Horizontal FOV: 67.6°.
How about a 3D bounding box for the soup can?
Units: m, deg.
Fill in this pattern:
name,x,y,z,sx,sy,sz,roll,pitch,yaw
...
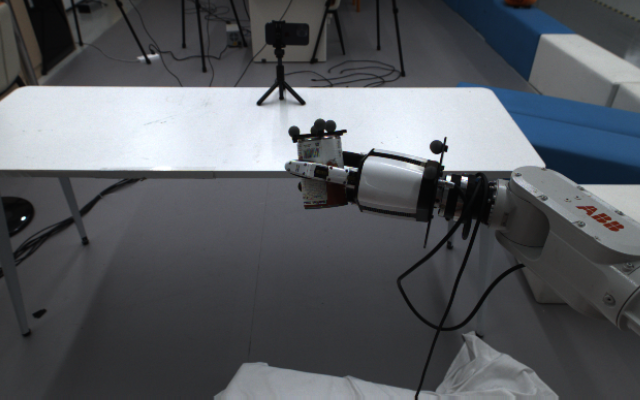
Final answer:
name,x,y,z,sx,sy,sz,roll,pitch,yaw
soup can,0.004,-0.040,0.715,0.067,0.101,0.067,-7,3,0
